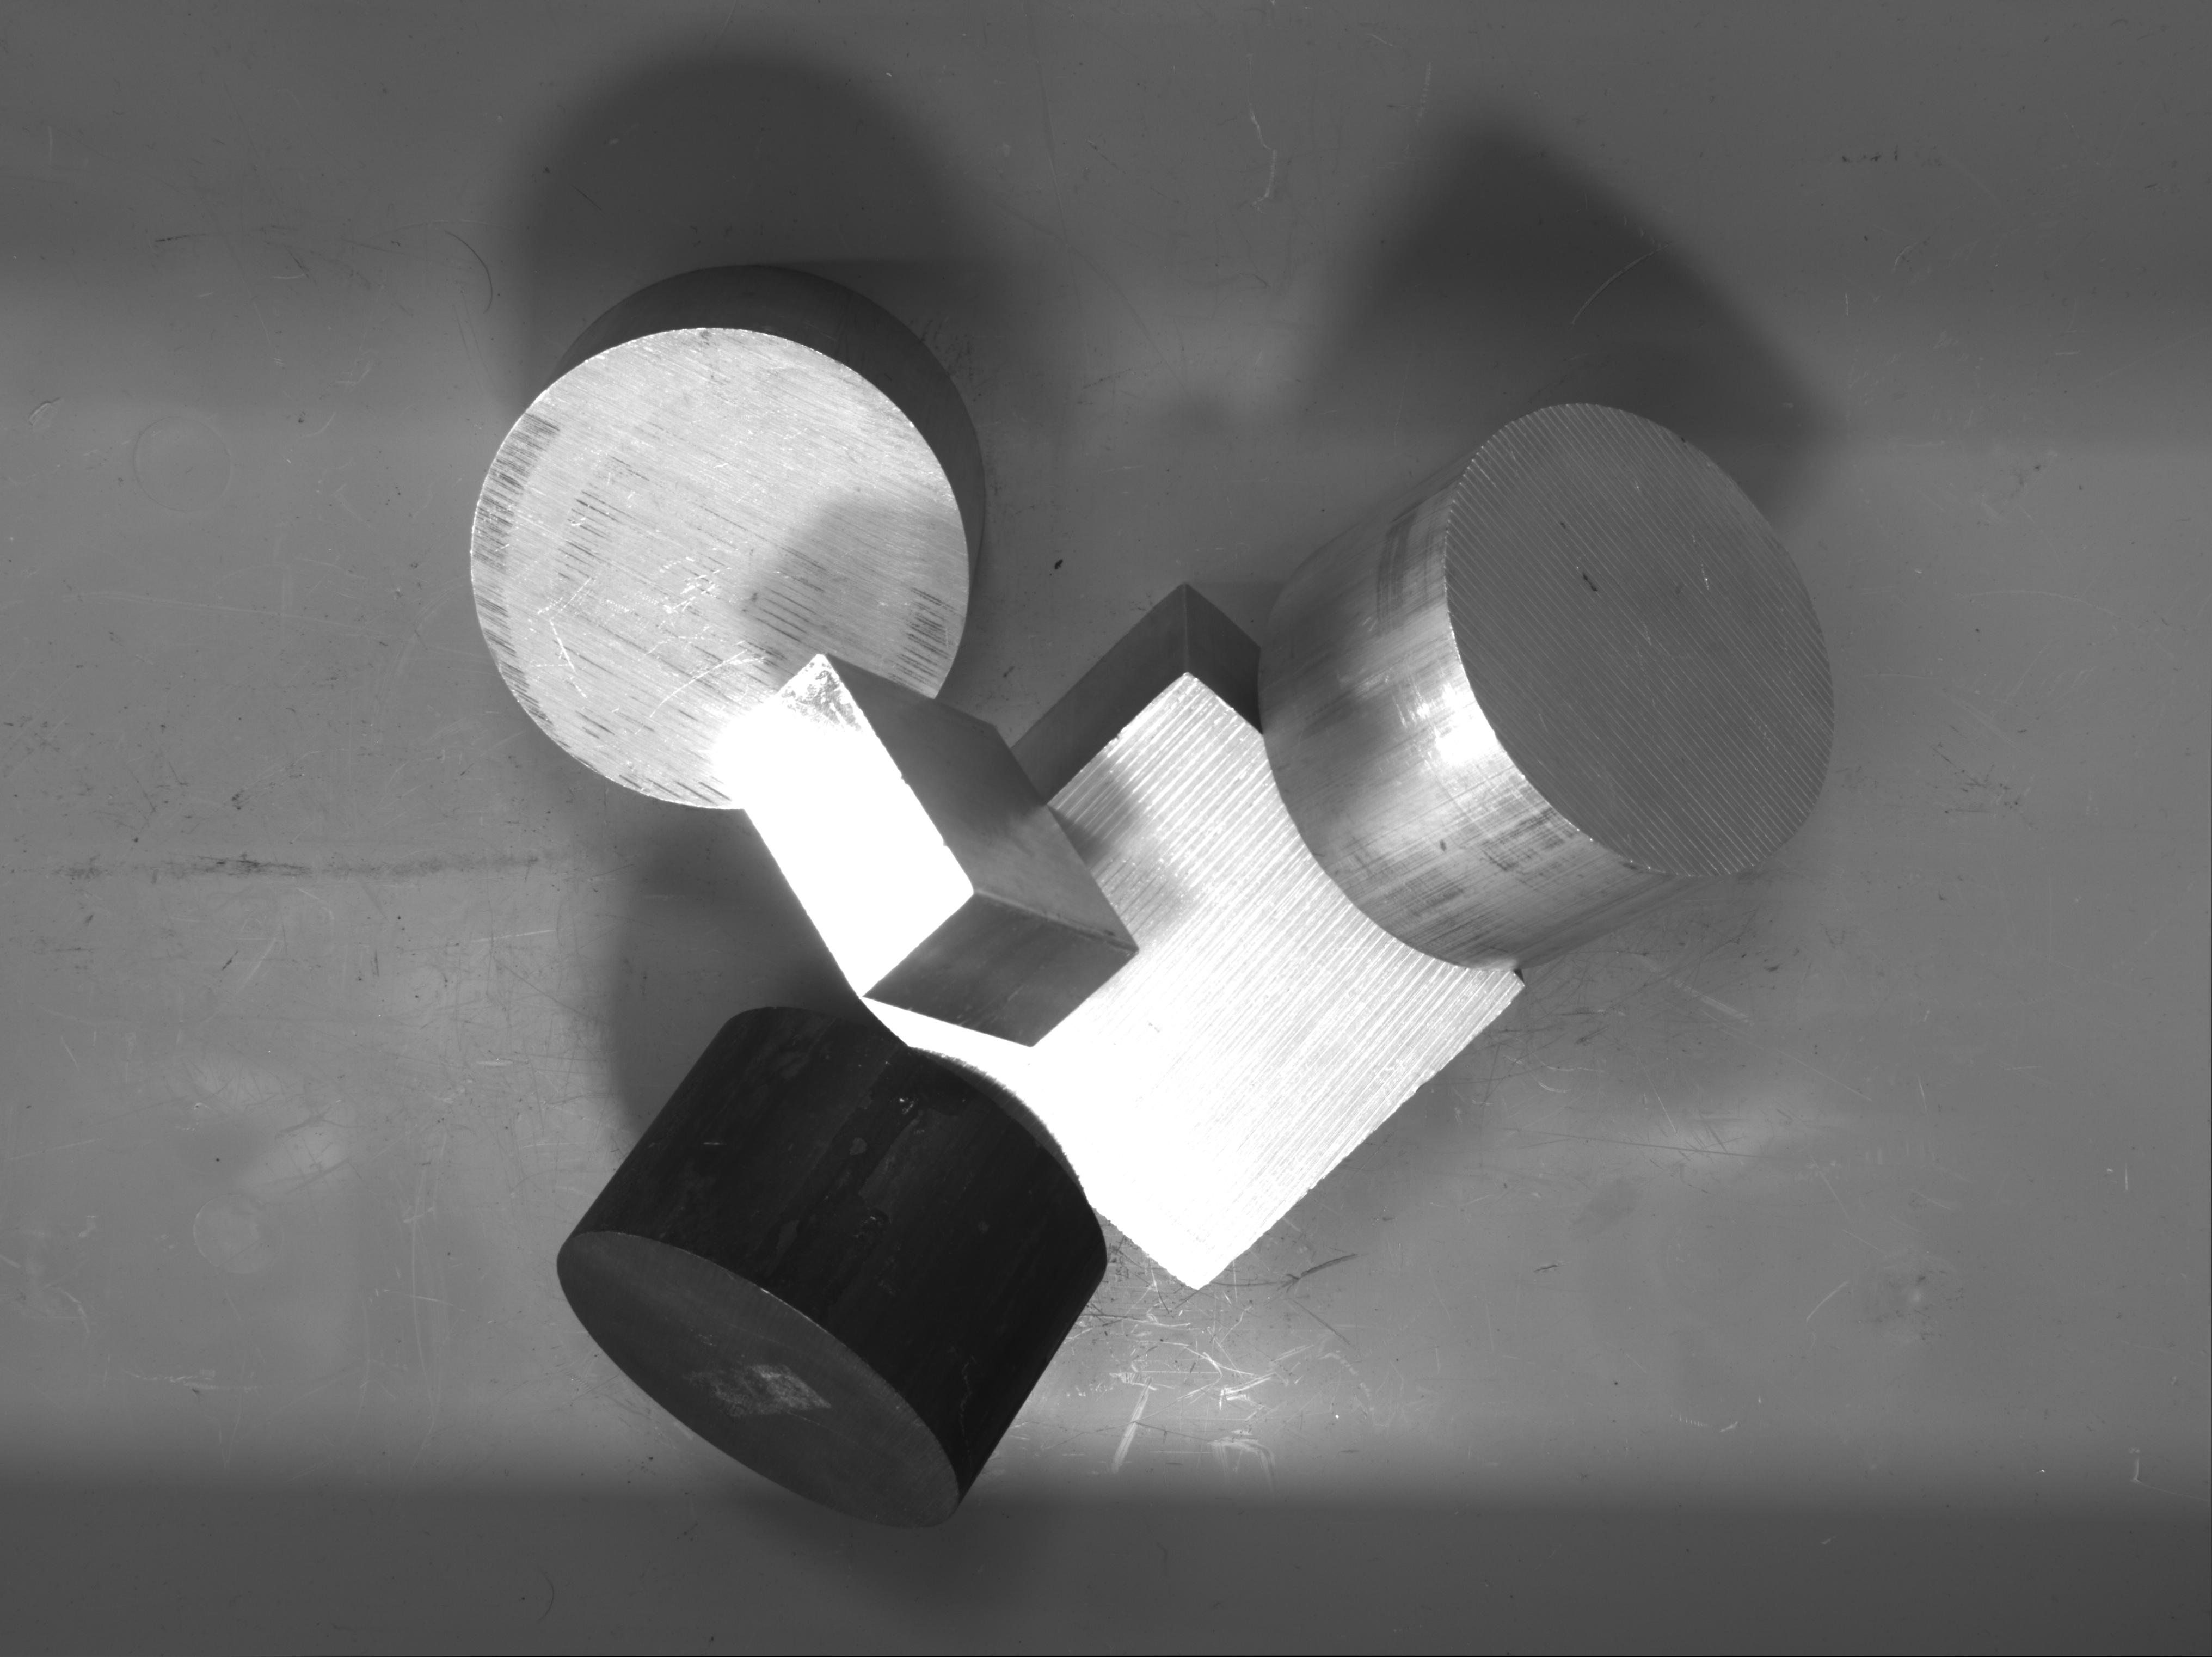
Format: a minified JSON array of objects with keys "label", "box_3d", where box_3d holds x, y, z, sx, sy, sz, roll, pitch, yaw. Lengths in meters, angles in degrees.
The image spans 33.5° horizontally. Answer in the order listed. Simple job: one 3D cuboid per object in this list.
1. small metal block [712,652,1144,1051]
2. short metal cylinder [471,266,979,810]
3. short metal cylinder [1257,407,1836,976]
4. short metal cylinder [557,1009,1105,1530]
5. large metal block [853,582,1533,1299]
[{"label":"small metal block","box_3d":[-0.028,0.004,0.578,0.025,0.050,0.050,-42,61,16]},{"label":"short metal cylinder","box_3d":[-0.061,-0.049,0.612,0.080,0.050,0.080,0,110,0]},{"label":"short metal cylinder","box_3d":[0.072,-0.022,0.598,0.080,0.080,0.050,41,143,-13]},{"label":"short metal cylinder","box_3d":[-0.047,0.077,0.635,0.080,0.050,0.080,25,150,16]},{"label":"large metal block","box_3d":[0.015,0.019,0.634,0.080,0.050,0.080,42,105,-14]}]
